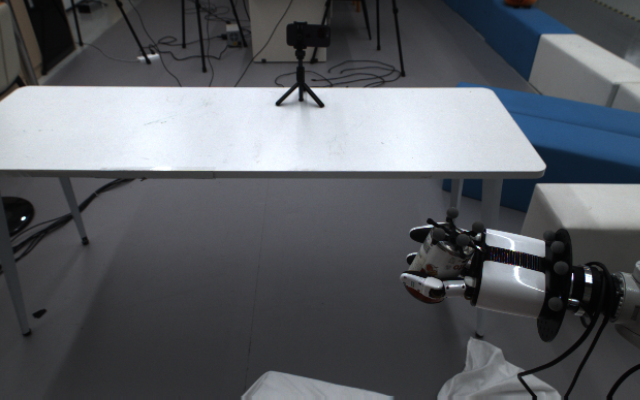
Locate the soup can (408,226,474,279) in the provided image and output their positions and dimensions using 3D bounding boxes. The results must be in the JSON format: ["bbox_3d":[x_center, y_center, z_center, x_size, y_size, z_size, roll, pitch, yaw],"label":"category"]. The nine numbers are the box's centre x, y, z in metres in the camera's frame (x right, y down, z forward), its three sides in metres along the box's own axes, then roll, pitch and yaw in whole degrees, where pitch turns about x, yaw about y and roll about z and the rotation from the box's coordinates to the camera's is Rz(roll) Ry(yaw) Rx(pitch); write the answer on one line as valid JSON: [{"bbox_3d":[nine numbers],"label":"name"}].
[{"bbox_3d":[0.172,0.092,0.703,0.067,0.101,0.067,14,35,-10],"label":"soup can"}]
